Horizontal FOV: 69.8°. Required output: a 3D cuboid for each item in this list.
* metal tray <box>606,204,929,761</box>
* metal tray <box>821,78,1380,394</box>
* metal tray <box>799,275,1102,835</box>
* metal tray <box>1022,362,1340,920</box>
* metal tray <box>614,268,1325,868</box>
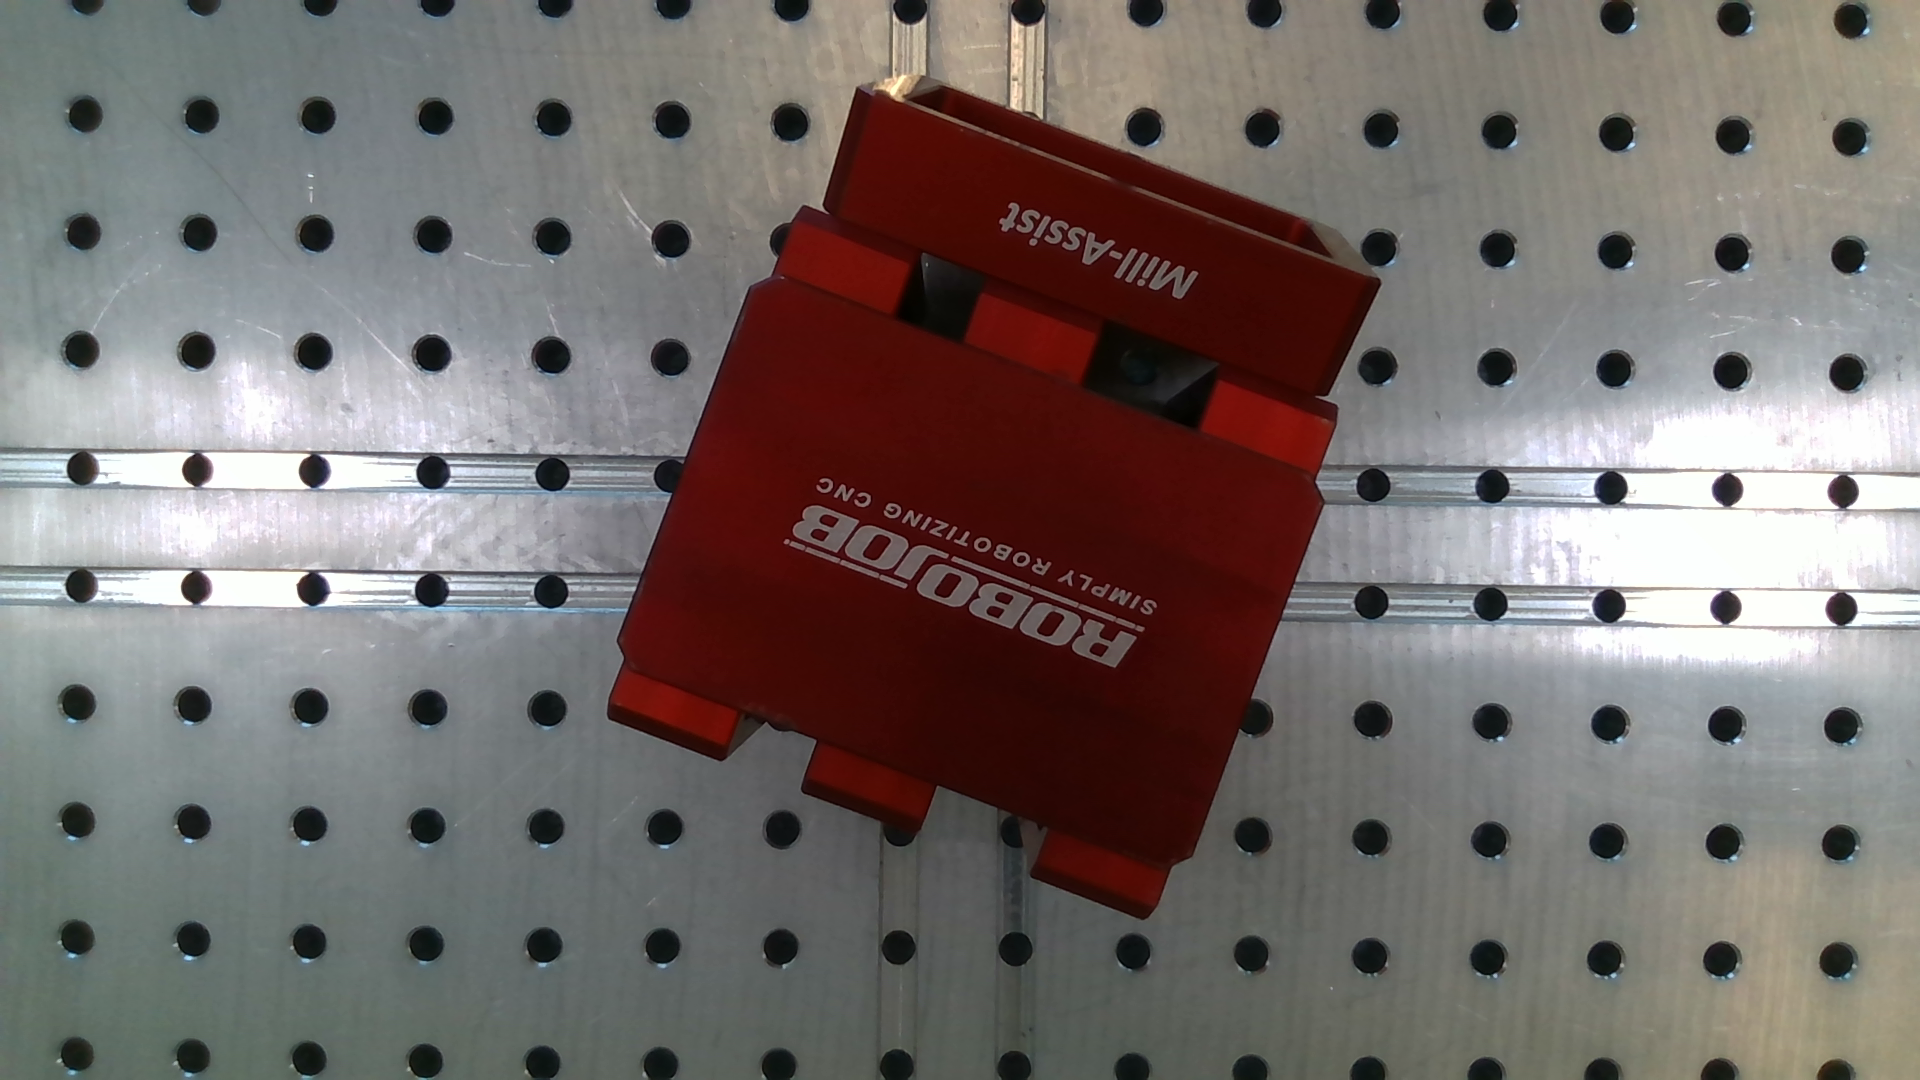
[{"bbox_3d":[-0.046,-0.014,0.365,0.030,0.090,0.130,21,90,0],"label":"metal tray"},{"bbox_3d":[0.037,-0.084,0.362,0.130,0.090,0.030,21,112,0],"label":"metal tray"},{"bbox_3d":[-0.003,0.003,0.364,0.030,0.090,0.130,20,91,-1],"label":"metal tray"},{"bbox_3d":[0.053,0.024,0.364,0.030,0.090,0.130,21,90,1],"label":"metal tray"},{"bbox_3d":[0.002,0.006,0.304,0.130,0.030,0.090,21,90,0],"label":"metal tray"}]
